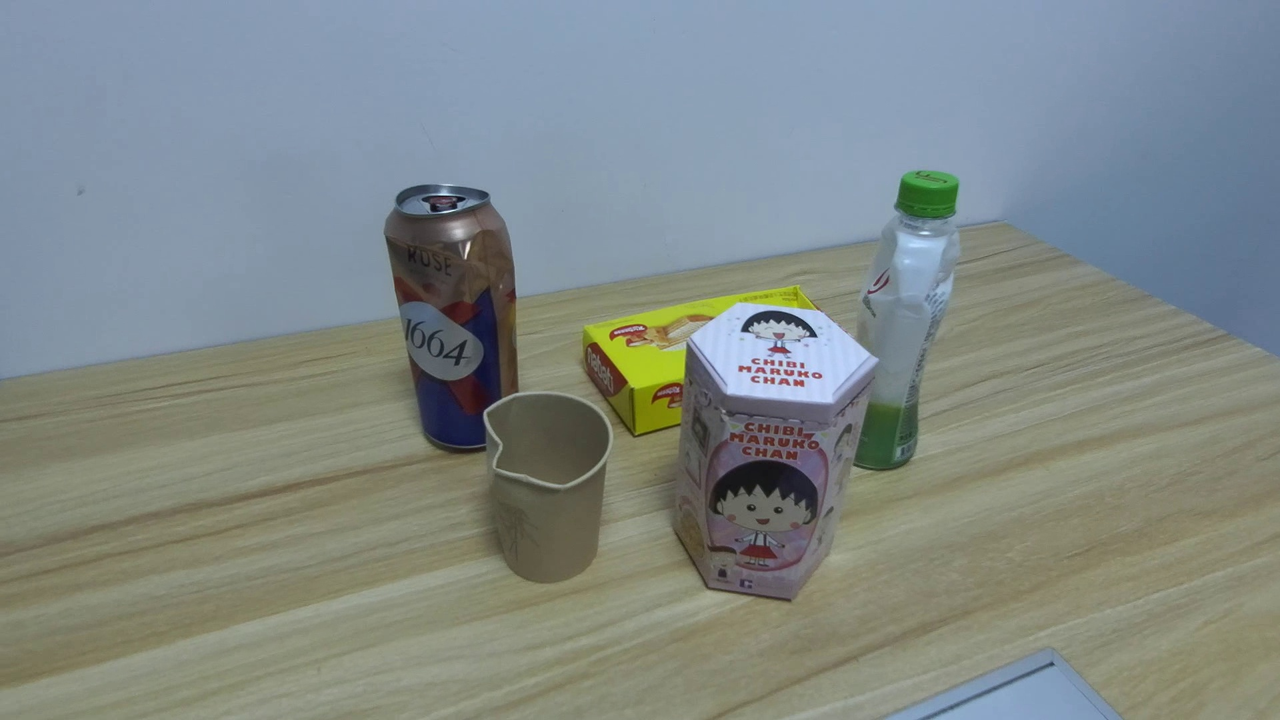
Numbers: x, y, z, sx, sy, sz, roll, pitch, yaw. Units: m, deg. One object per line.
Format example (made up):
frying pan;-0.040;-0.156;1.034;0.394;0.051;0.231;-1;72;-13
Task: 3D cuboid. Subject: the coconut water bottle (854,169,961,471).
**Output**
coconut water bottle;0.159;-0.021;0.434;0.067;0.187;0.067;0;33;0

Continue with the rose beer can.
rose beer can;-0.114;-0.025;0.451;0.065;0.167;0.075;-26;41;-37

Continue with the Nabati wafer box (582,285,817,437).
Nabati wafer box;0.067;-0.007;0.560;0.204;0.042;0.096;-13;35;-19

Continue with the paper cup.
paper cup;-0.050;0.072;0.385;0.073;0.081;0.069;10;34;12

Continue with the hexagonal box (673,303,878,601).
hexagonal box;0.066;0.050;0.370;0.091;0.136;0.084;6;34;7
